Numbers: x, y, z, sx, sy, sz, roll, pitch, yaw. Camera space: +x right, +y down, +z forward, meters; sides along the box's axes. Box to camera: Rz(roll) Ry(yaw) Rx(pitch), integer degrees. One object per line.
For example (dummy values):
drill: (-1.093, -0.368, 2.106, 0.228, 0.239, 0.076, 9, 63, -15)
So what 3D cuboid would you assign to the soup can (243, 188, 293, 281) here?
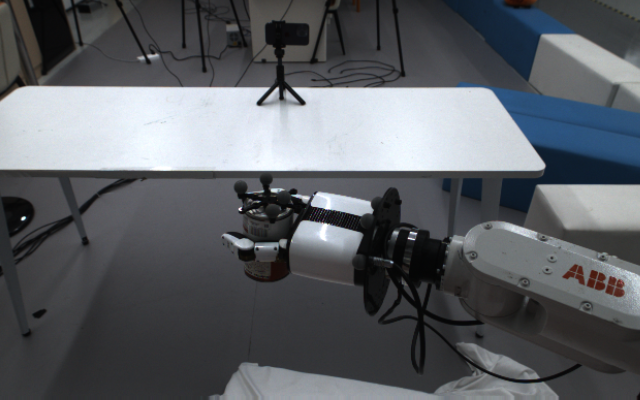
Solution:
soup can: (-0.067, 0.050, 0.643, 0.067, 0.101, 0.067, 3, 30, -2)
